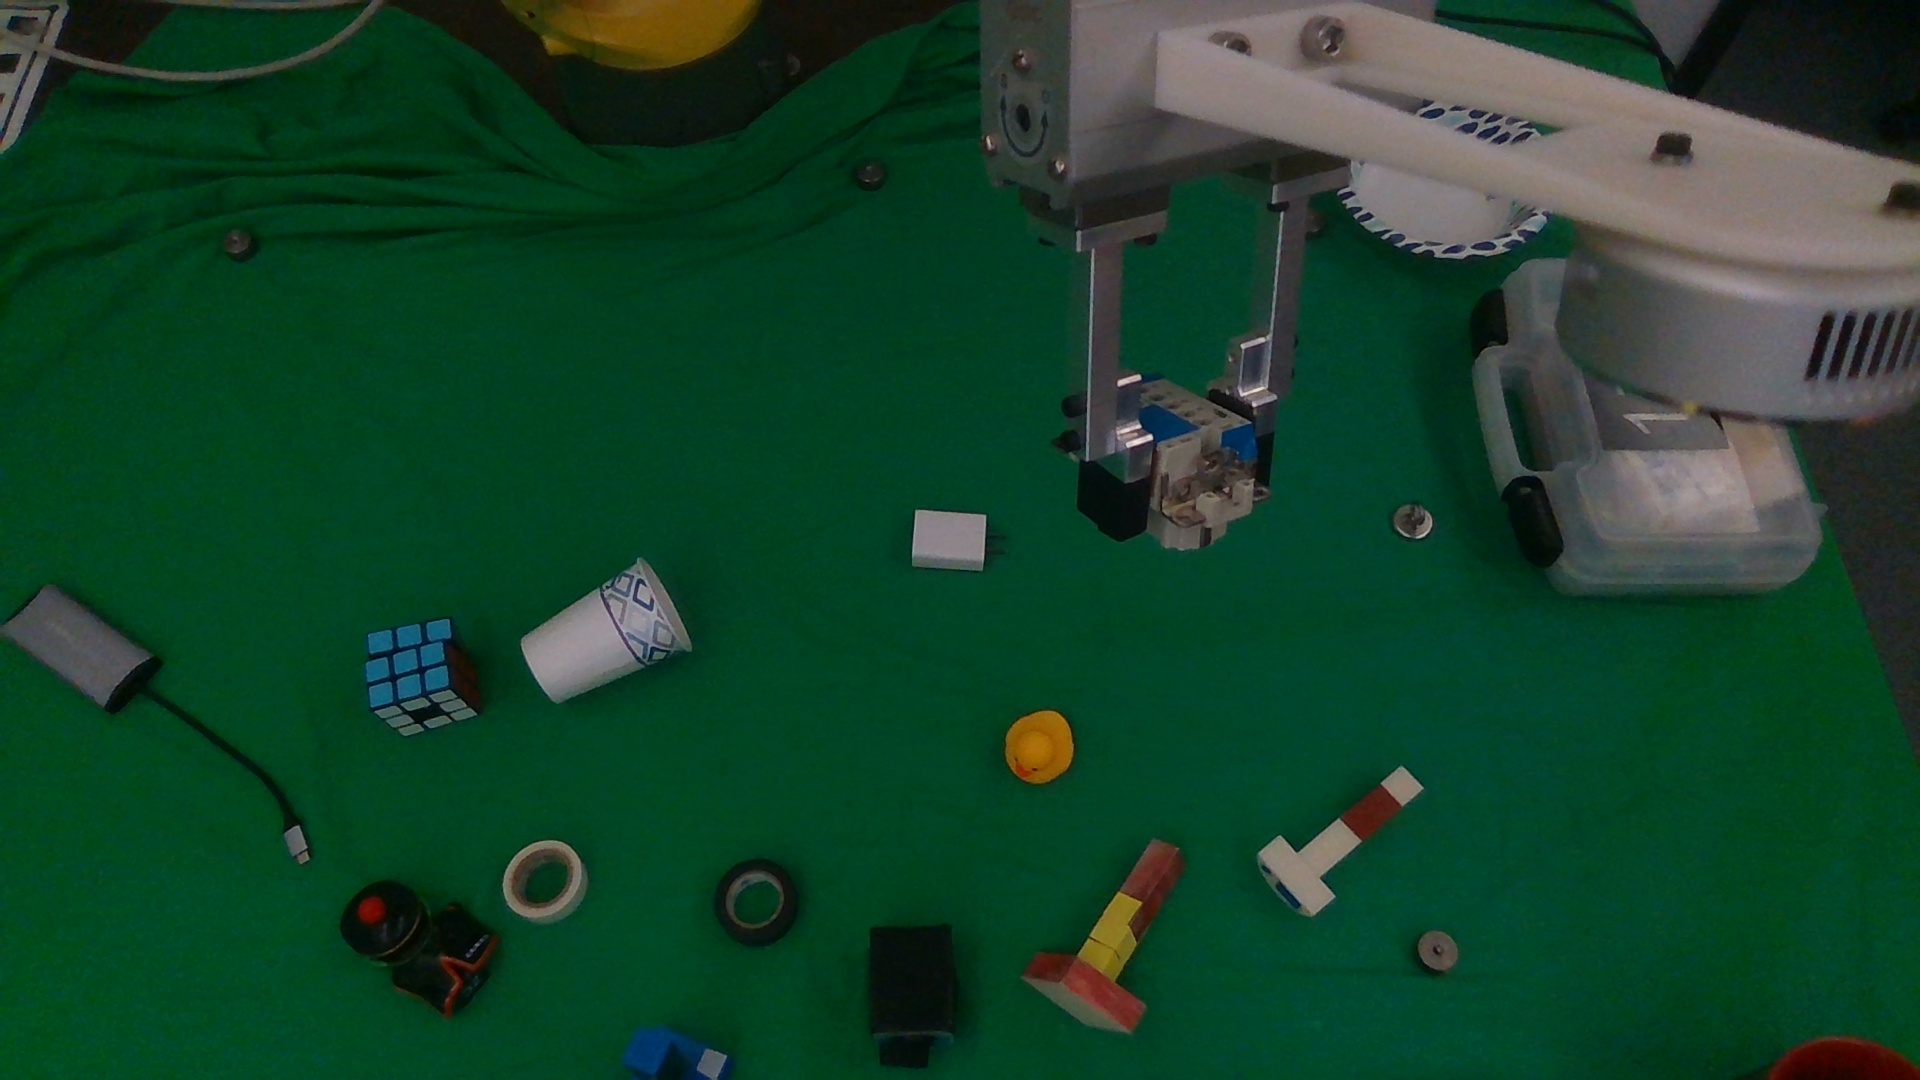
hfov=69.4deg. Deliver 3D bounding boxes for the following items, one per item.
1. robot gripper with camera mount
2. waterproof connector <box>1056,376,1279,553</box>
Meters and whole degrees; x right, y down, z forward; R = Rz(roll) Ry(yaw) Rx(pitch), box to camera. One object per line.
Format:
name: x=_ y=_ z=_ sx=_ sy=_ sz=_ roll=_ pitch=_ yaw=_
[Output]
robot gripper with camera mount: x=0.111 y=-0.049 z=0.312 sx=0.118 sy=0.158 sz=0.194 roll=-20 pitch=36 yaw=-32
waterproof connector: x=0.059 y=-0.021 z=0.406 sx=0.035 sy=0.037 sz=0.065 roll=-22 pitch=35 yaw=-25
